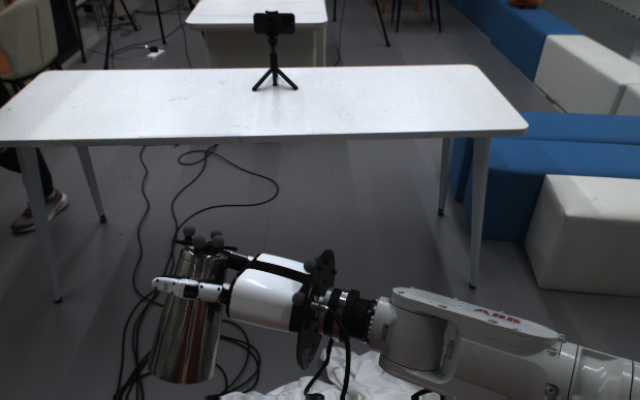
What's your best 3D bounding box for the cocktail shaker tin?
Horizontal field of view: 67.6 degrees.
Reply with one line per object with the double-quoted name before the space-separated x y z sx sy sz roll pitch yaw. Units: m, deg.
"cocktail shaker tin" -0.176 0.155 0.675 0.093 0.170 0.093 12 3 -1
